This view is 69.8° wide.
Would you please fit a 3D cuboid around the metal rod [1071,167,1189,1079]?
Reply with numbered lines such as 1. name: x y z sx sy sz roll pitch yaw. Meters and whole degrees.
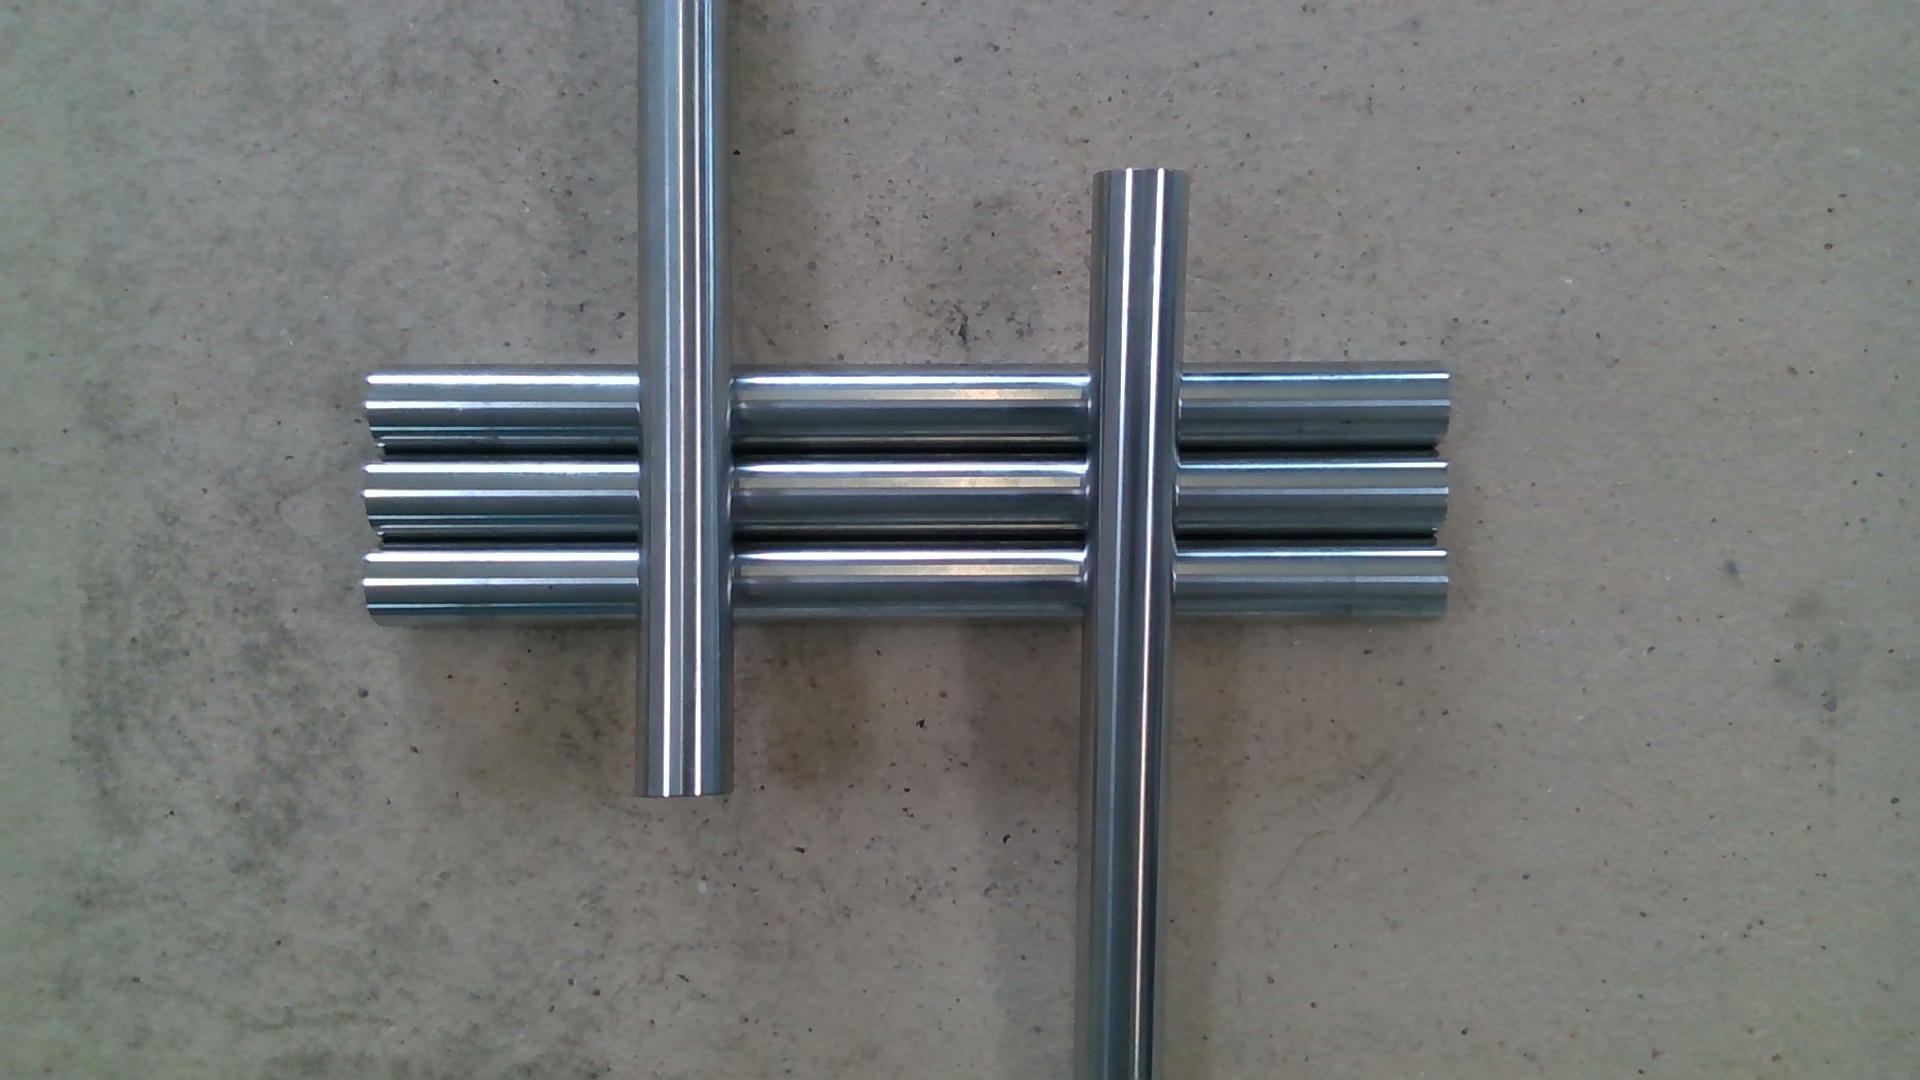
1. metal rod: 0.045 0.054 0.376 0.025 0.025 0.300 1 98 0

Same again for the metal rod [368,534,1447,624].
1. metal rod: -0.015 0.011 0.395 0.300 0.025 0.025 0 90 0

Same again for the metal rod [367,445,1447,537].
1. metal rod: -0.015 -0.014 0.395 0.300 0.025 0.025 0 90 0

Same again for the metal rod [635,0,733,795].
1. metal rod: -0.075 -0.083 0.376 0.025 0.025 0.300 -1 83 0

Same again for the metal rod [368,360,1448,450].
1. metal rod: -0.014 -0.039 0.395 0.300 0.025 0.025 0 90 0
